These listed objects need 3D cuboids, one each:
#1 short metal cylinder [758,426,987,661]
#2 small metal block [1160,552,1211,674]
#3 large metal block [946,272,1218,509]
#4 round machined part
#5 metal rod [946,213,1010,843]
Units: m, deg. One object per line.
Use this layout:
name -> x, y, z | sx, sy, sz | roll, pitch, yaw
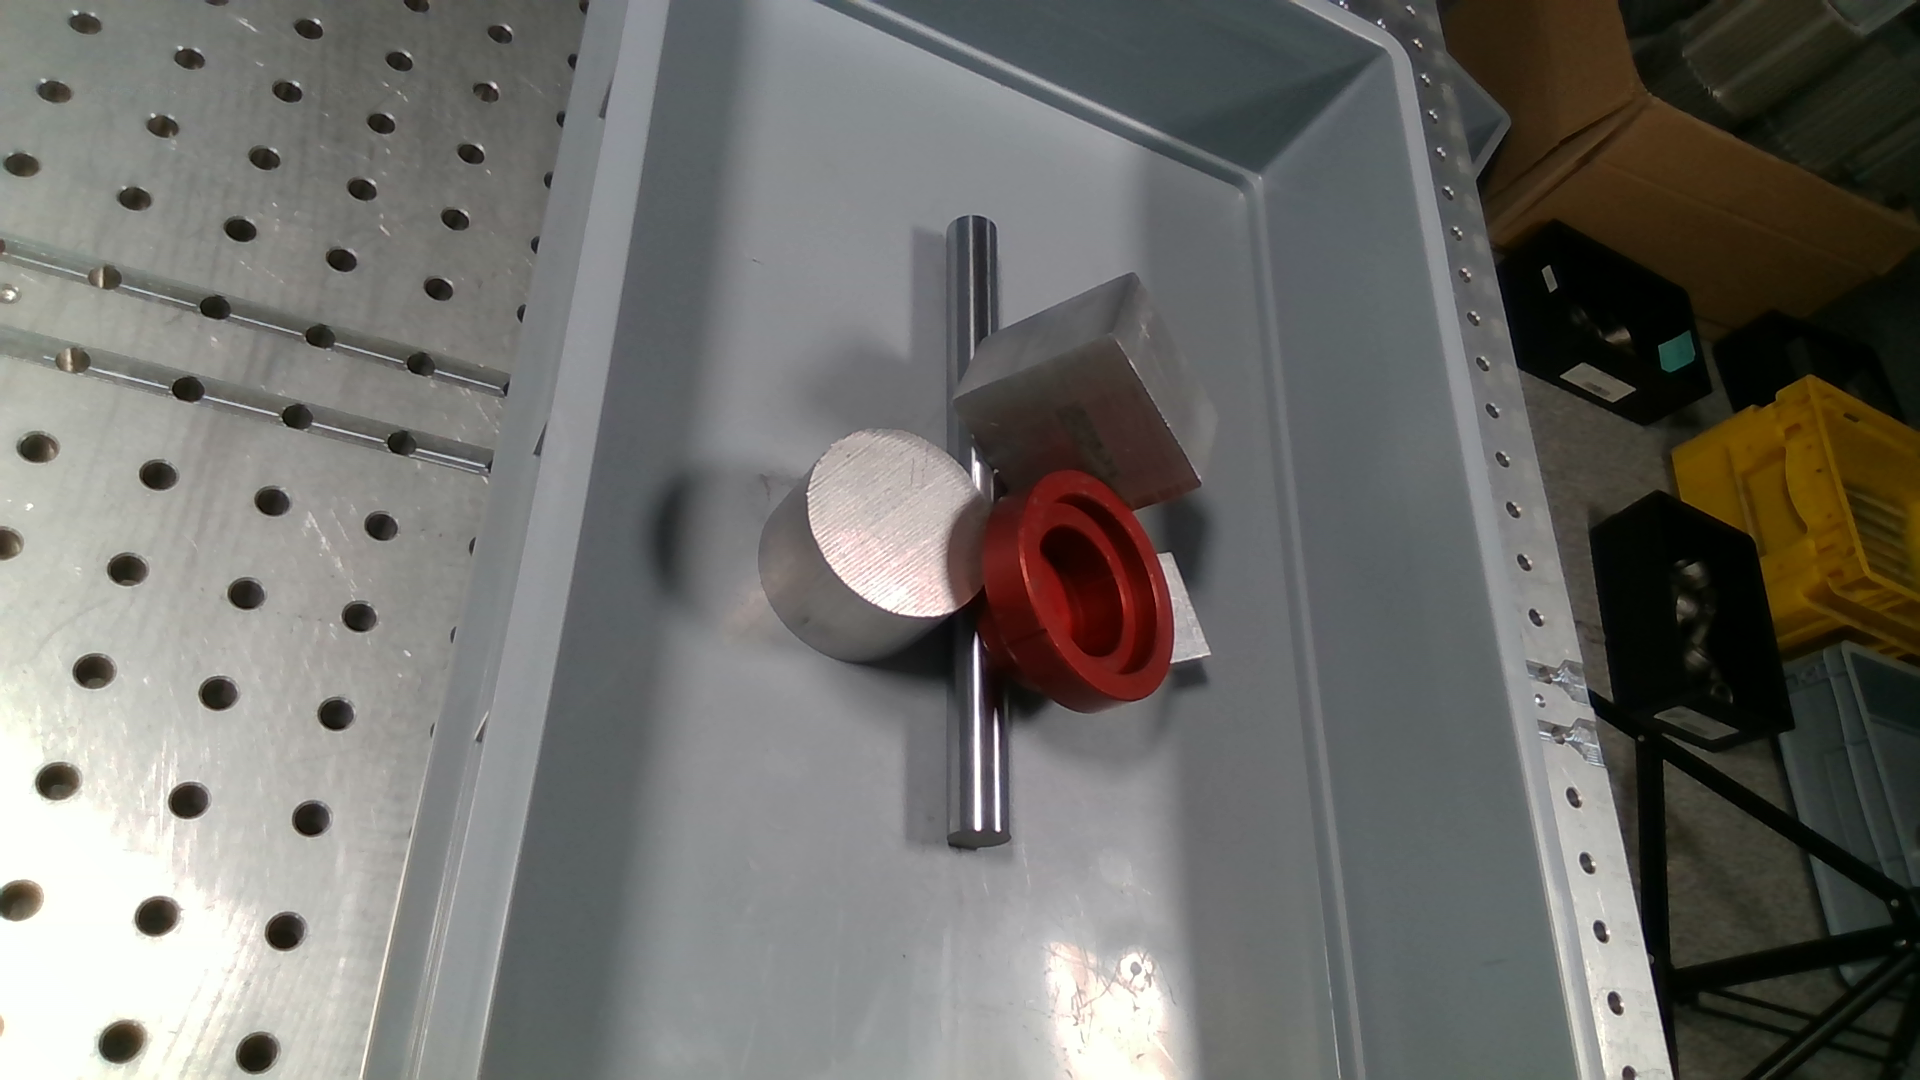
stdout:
short metal cylinder -> -0.033, 0.002, 0.546 | 0.080, 0.050, 0.080 | 14, 59, -25
small metal block -> 0.077, 0.036, 0.614 | 0.050, 0.025, 0.050 | -8, 69, -34
large metal block -> 0.054, -0.056, 0.594 | 0.080, 0.080, 0.050 | 54, 35, -25
round machined part -> 0.042, 0.024, 0.562 | 0.098, 0.042, 0.098 | 27, 51, -39
metal rod -> 0.006, -0.018, 0.596 | 0.025, 0.025, 0.299 | 14, 59, -25
